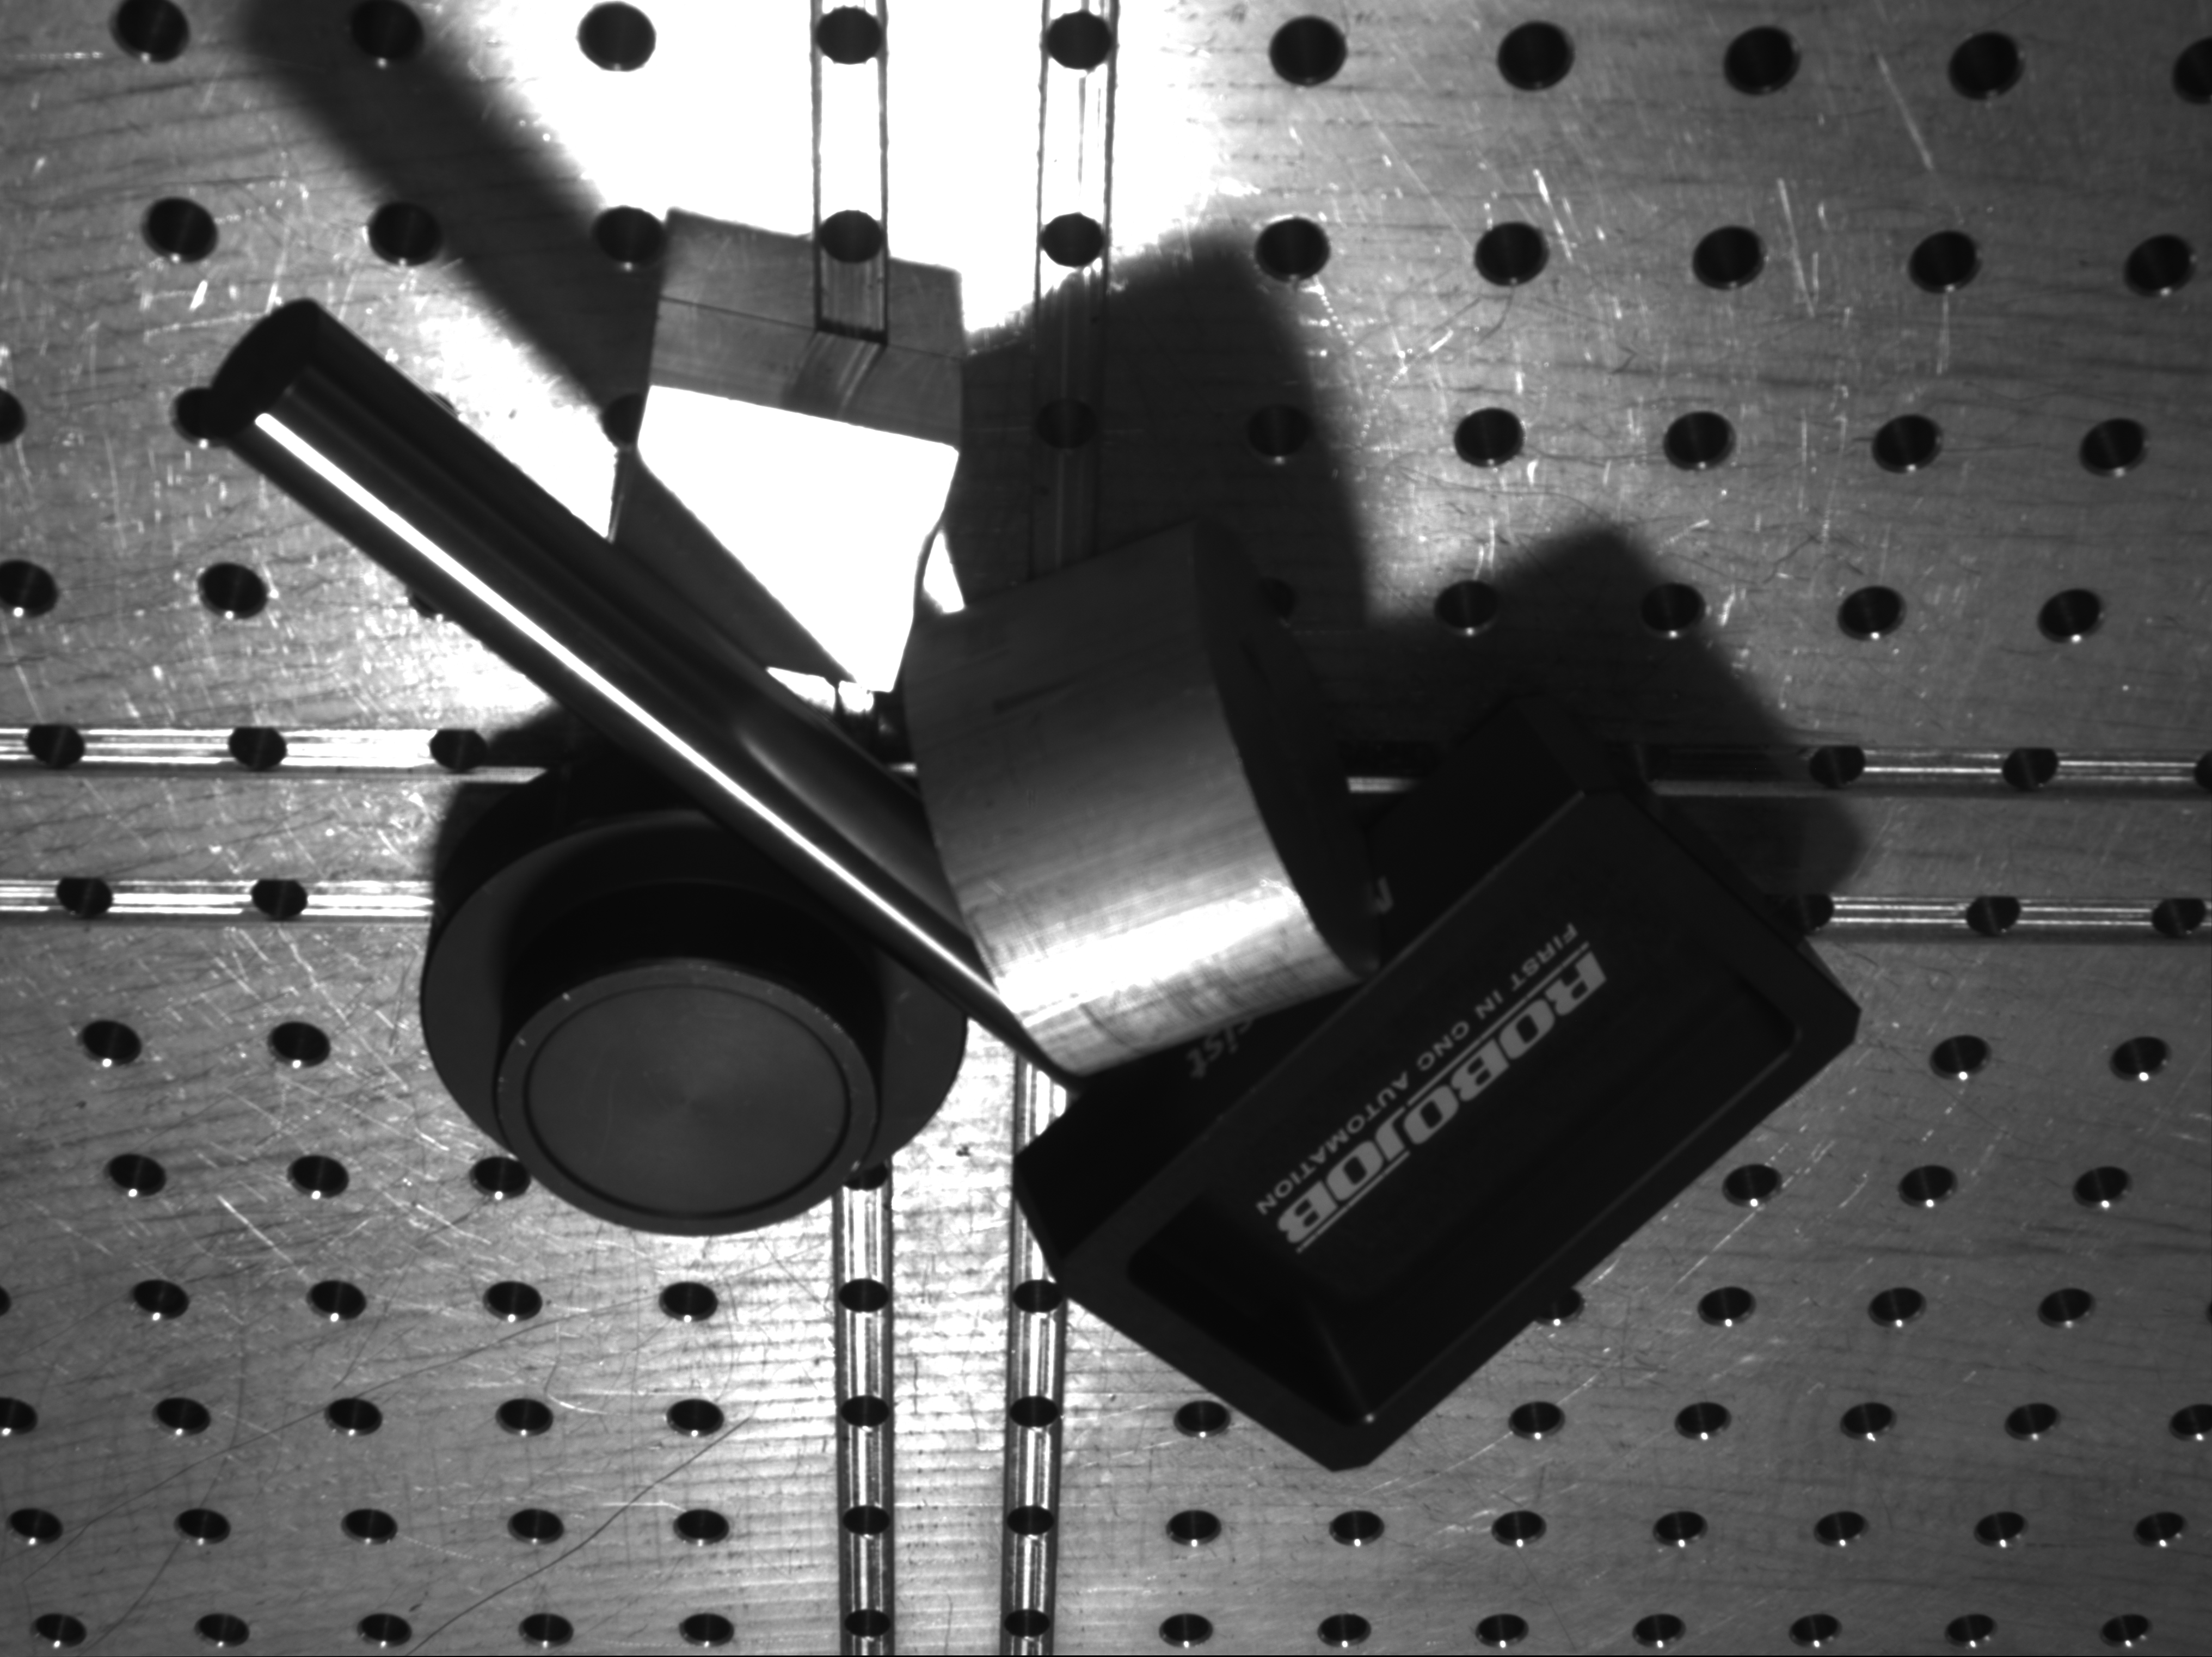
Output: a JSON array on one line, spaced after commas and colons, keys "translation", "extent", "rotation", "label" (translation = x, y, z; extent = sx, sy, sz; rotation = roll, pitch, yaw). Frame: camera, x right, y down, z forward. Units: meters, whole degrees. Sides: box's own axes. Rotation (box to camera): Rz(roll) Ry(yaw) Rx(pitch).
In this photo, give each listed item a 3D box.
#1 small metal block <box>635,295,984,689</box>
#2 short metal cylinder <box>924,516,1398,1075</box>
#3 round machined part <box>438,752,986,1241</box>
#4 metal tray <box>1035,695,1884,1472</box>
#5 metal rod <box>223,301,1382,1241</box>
[{"translation": [-0.050, -0.054, 0.595], "extent": [0.050, 0.025, 0.050], "rotation": [10, 129, -10], "label": "small metal block"}, {"translation": [0.010, -0.005, 0.601], "extent": [0.050, 0.080, 0.080], "rotation": [-20, 128, 14], "label": "short metal cylinder"}, {"translation": [-0.071, 0.036, 0.657], "extent": [0.098, 0.042, 0.098], "rotation": [-1, 130, -1], "label": "round machined part"}, {"translation": [0.063, 0.048, 0.653], "extent": [0.130, 0.030, 0.090], "rotation": [-43, 128, 11], "label": "metal tray"}, {"translation": [-0.028, 0.008, 0.626], "extent": [0.025, 0.025, 0.301], "rotation": [-32, 132, 23], "label": "metal rod"}]
